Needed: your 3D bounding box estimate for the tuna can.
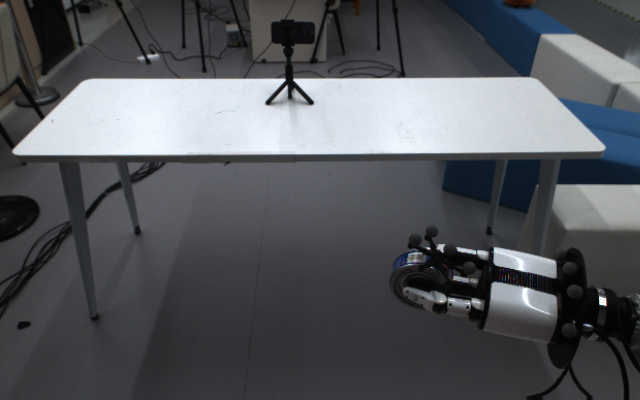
[{"bbox_3d":[0.144,0.110,0.678,0.085,0.085,0.034,12,36,14],"label":"tuna can"}]
